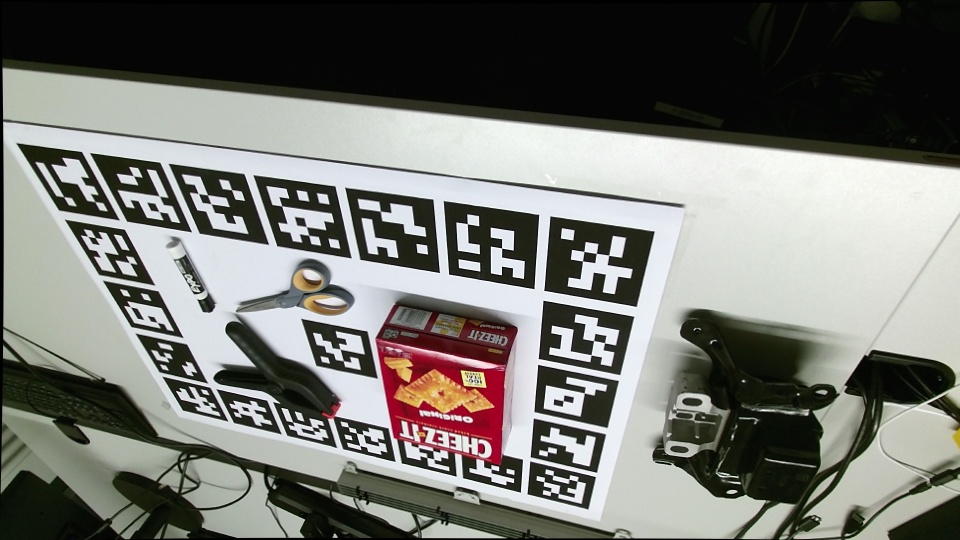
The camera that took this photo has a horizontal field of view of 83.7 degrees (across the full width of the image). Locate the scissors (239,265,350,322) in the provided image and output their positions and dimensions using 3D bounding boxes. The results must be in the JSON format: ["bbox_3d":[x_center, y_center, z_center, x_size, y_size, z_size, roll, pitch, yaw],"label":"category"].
[{"bbox_3d":[-0.261,0.047,0.720,0.203,0.016,0.088,-15,123,31],"label":"scissors"}]

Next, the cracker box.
[{"bbox_3d":[-0.040,0.160,0.706,0.165,0.072,0.214,10,130,11],"label":"cracker box"}]

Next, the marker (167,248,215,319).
[{"bbox_3d":[-0.399,0.023,0.746,0.020,0.019,0.121,6,130,14],"label":"marker"}]

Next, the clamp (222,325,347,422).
[{"bbox_3d":[-0.306,0.182,0.853,0.203,0.036,0.165,32,132,-8],"label":"clamp"}]
